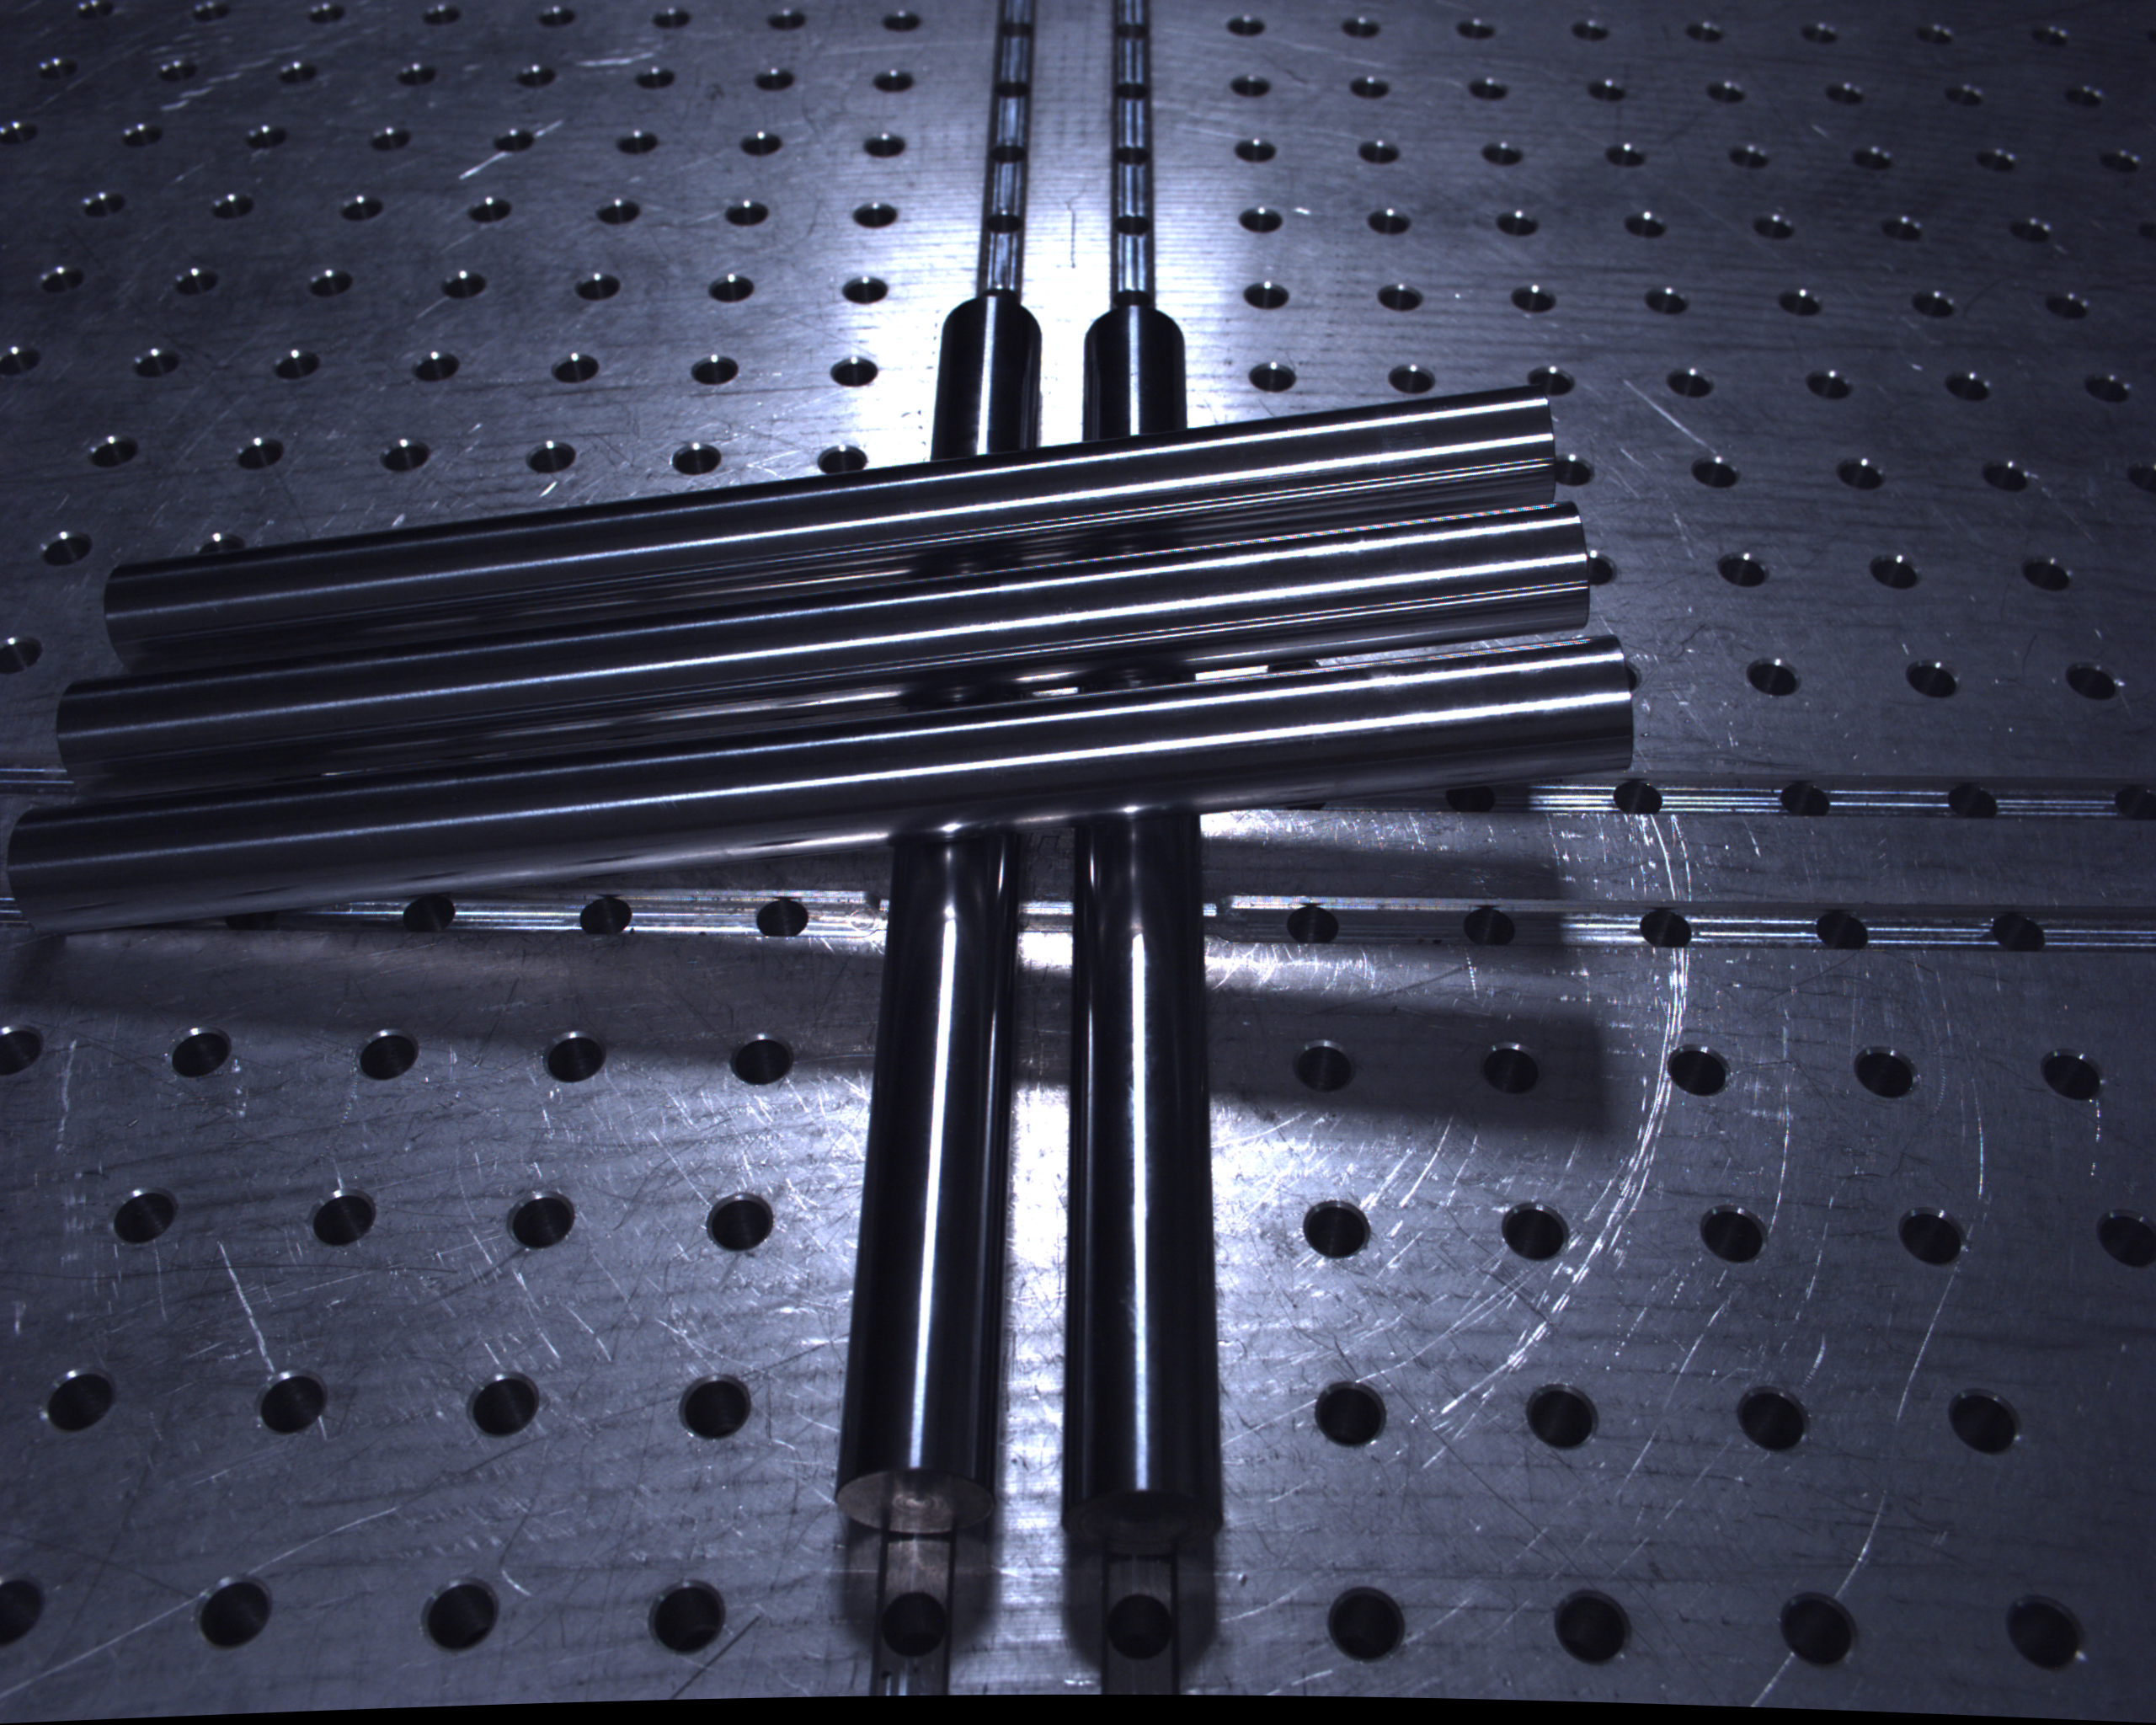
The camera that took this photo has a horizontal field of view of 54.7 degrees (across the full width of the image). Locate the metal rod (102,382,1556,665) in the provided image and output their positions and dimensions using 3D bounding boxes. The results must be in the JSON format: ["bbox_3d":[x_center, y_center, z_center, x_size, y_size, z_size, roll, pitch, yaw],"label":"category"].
[{"bbox_3d":[-0.054,-0.069,0.438,0.302,0.025,0.025,-6,50,4],"label":"metal rod"}]

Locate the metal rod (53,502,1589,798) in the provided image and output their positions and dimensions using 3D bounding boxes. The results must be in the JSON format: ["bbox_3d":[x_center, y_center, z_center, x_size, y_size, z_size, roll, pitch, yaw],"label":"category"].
[{"bbox_3d":[-0.053,-0.041,0.415,0.302,0.025,0.025,-6,50,5],"label":"metal rod"}]

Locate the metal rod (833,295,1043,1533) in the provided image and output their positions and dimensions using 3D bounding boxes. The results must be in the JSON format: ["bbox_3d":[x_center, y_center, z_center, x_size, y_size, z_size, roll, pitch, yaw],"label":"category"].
[{"bbox_3d":[-0.023,-0.015,0.420,0.025,0.025,0.300,1,50,0],"label":"metal rod"}]

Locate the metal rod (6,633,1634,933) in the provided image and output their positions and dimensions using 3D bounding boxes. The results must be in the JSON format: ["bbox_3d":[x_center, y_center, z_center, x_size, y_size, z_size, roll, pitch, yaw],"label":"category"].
[{"bbox_3d":[-0.051,-0.014,0.391,0.302,0.025,0.025,-6,50,5],"label":"metal rod"}]

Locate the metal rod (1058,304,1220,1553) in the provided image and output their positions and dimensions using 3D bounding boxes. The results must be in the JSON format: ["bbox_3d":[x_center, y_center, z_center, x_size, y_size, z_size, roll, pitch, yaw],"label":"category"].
[{"bbox_3d":[0.011,-0.013,0.419,0.025,0.025,0.300,1,50,0],"label":"metal rod"}]
